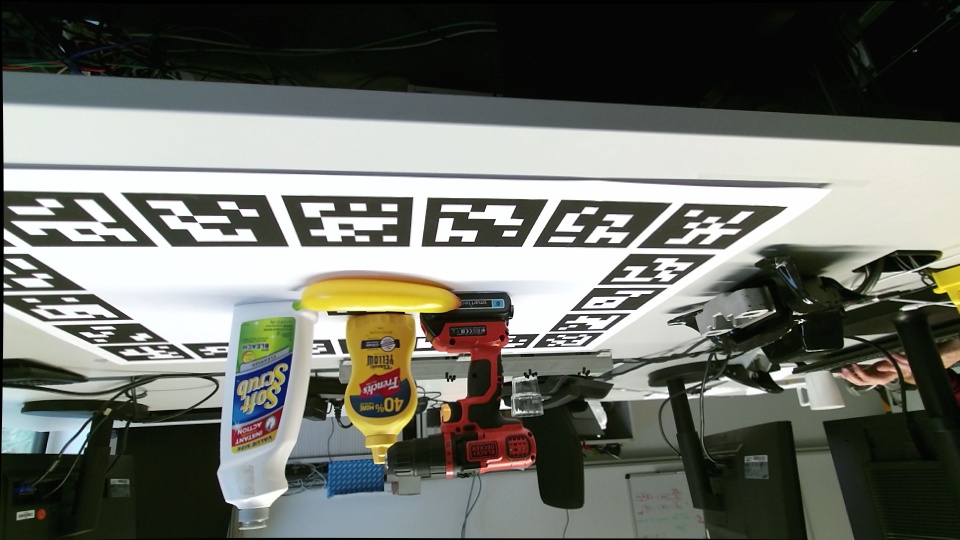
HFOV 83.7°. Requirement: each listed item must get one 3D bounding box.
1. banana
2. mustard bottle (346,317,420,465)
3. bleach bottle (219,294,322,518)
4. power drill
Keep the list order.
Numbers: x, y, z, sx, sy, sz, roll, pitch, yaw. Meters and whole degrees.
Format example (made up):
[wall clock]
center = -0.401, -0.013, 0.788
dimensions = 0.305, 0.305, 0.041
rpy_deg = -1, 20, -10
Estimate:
[banana]
center = -0.118, 0.034, 0.618
dimensions = 0.198, 0.038, 0.074
rpy_deg = 0, 152, -13
[mustard bottle]
center = -0.130, 0.161, 0.717
dimensions = 0.096, 0.190, 0.058
rpy_deg = 1, 156, -9
[bleach bottle]
center = -0.248, 0.156, 0.636
dimensions = 0.103, 0.249, 0.068
rpy_deg = -4, 155, -2
[power drill]
center = -0.018, 0.152, 0.672
dimensions = 0.185, 0.186, 0.057
rpy_deg = 1, 163, -5
